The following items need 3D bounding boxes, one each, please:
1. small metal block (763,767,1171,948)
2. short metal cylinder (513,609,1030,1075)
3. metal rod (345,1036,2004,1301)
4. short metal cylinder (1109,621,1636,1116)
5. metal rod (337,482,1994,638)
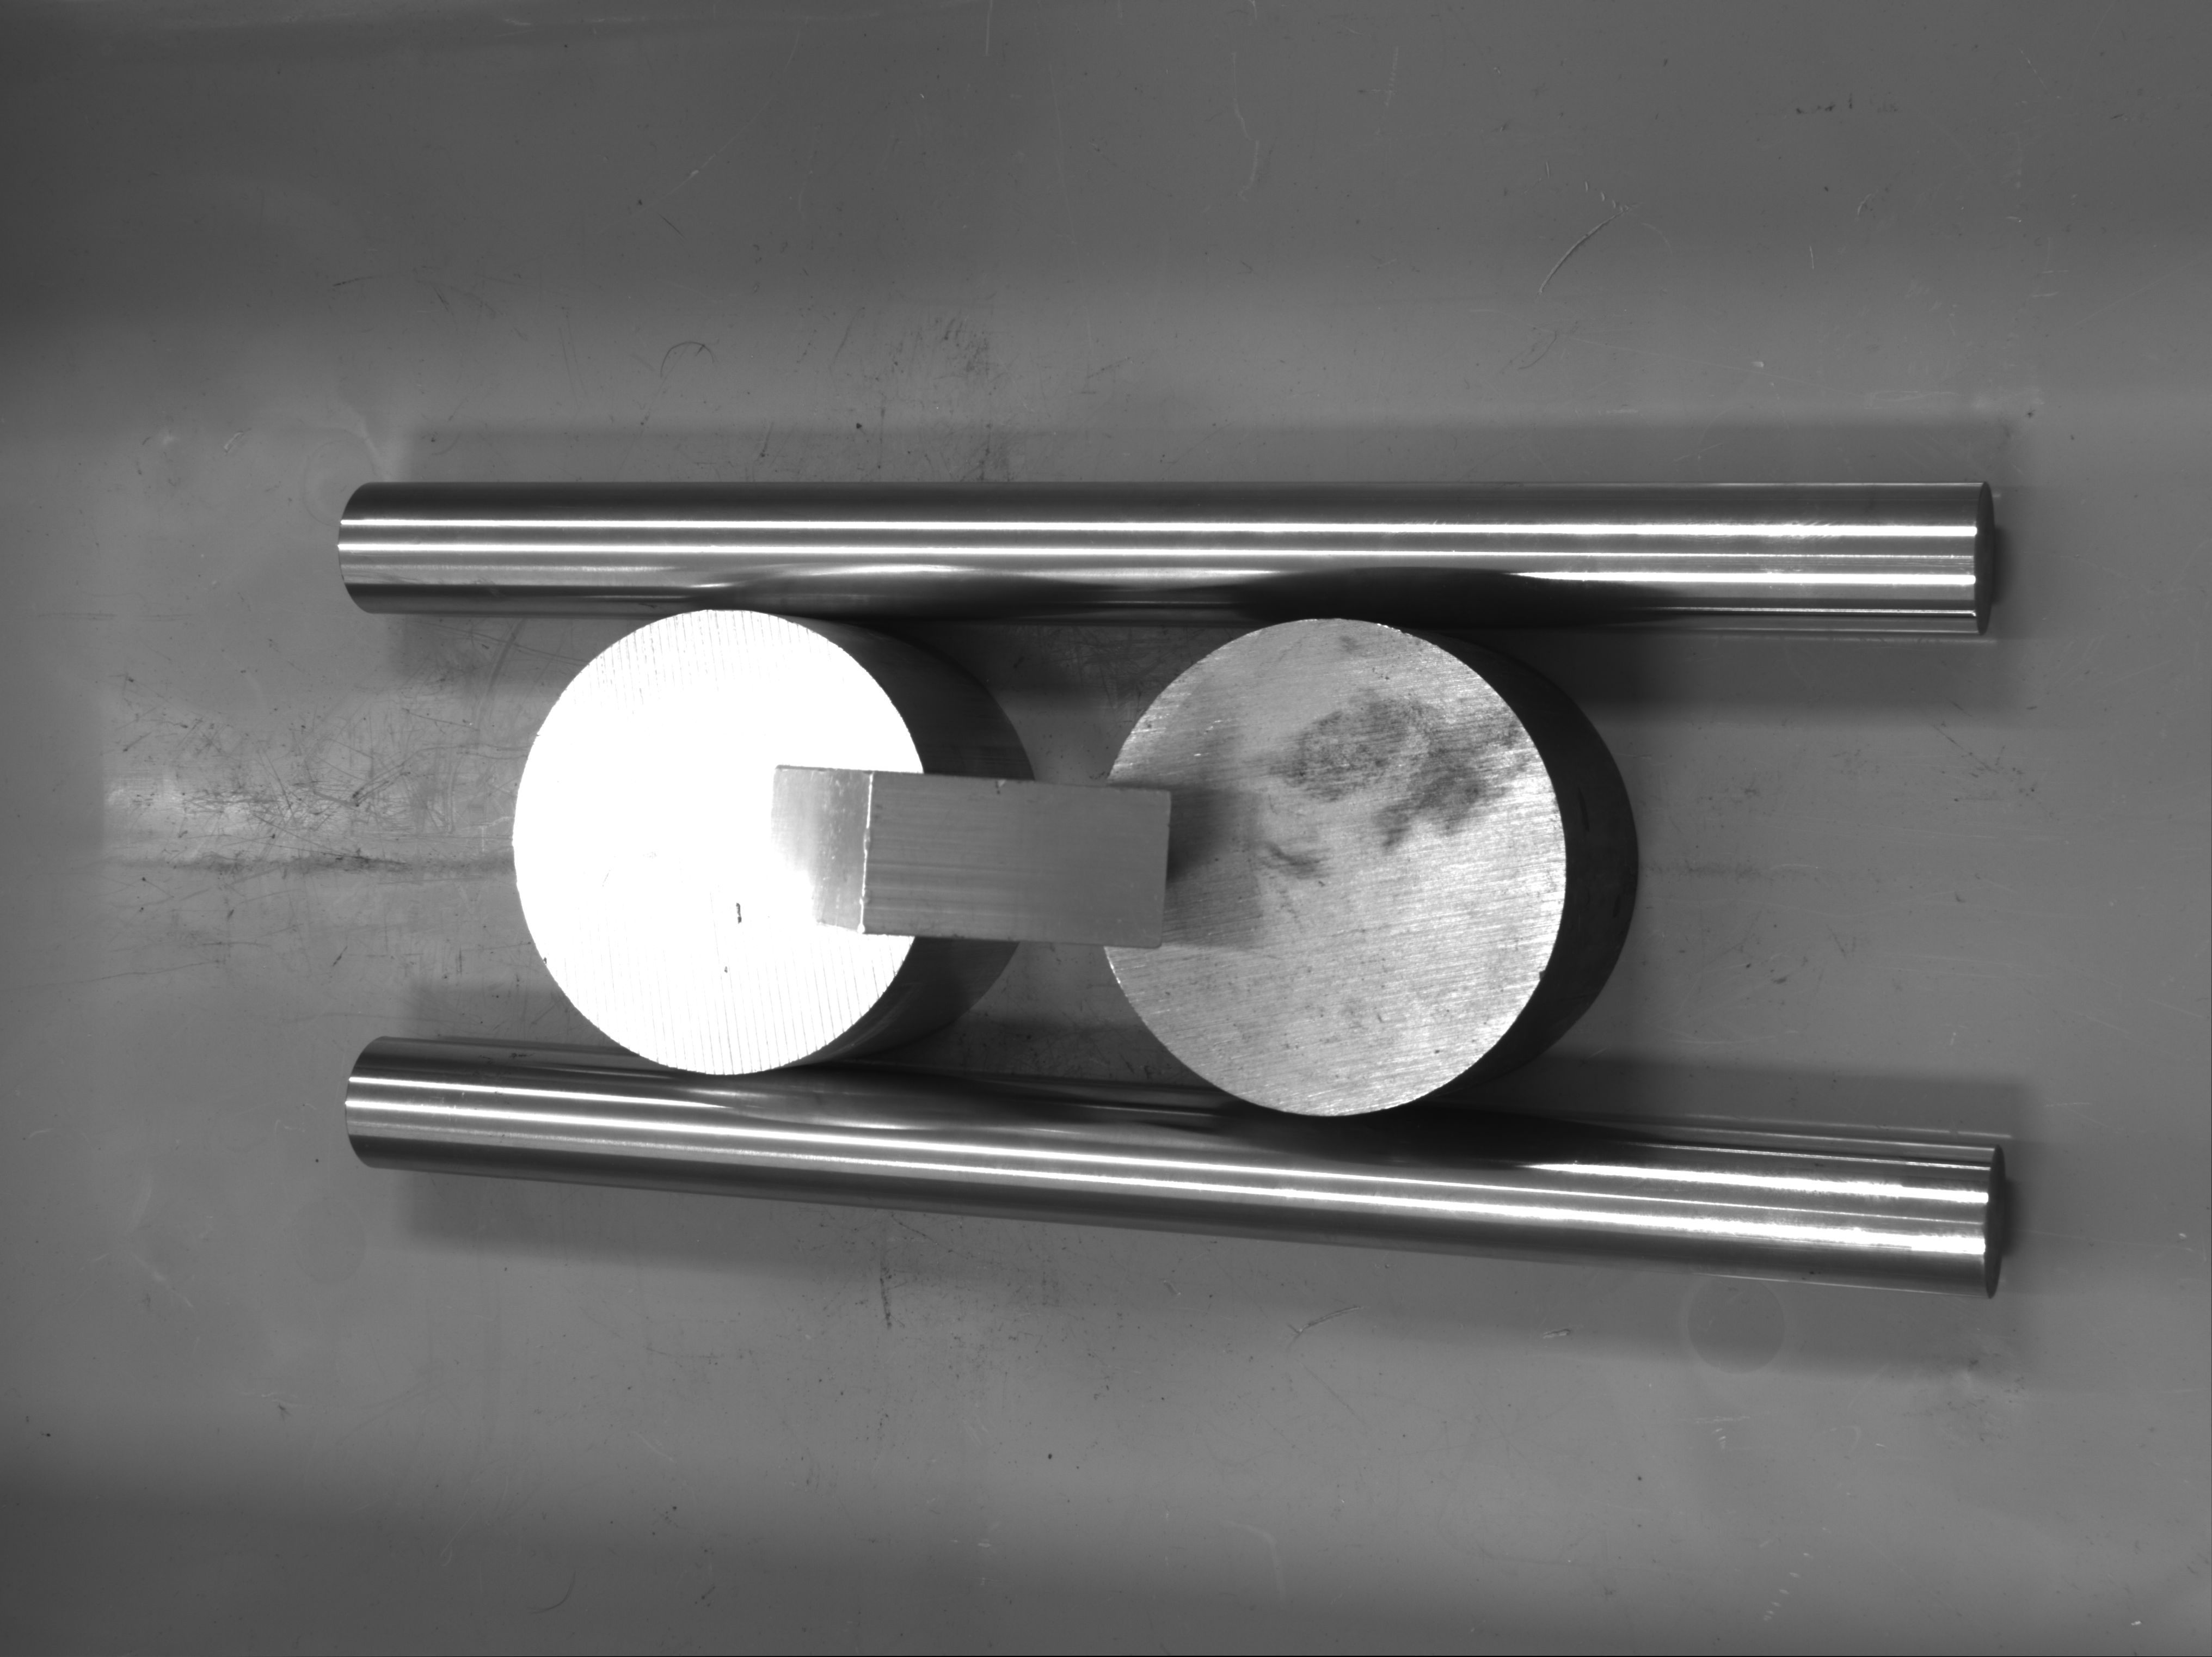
[{"bbox_3d":[-0.023,0.004,0.592,0.050,0.050,0.025,3,90,-23],"label":"small metal block"},{"bbox_3d":[-0.058,0.002,0.654,0.080,0.050,0.080,0,90,20],"label":"short metal cylinder"},{"bbox_3d":[0.003,0.058,0.644,0.299,0.025,0.025,2,91,20],"label":"metal rod"},{"bbox_3d":[0.044,0.007,0.616,0.080,0.050,0.080,0,90,20],"label":"short metal cylinder"},{"bbox_3d":[0.002,-0.048,0.645,0.299,0.025,0.025,2,91,20],"label":"metal rod"}]
